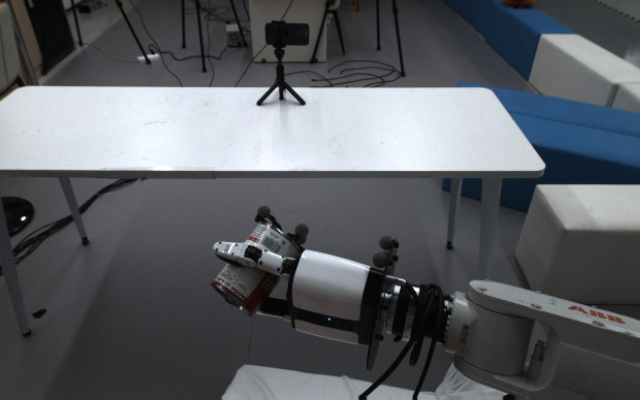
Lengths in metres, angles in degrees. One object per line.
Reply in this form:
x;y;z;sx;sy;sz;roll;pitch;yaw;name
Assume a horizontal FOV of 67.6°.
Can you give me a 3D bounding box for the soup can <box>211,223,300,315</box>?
-0.079;0.087;0.614;0.067;0.067;0.101;25;66;30;soup can
